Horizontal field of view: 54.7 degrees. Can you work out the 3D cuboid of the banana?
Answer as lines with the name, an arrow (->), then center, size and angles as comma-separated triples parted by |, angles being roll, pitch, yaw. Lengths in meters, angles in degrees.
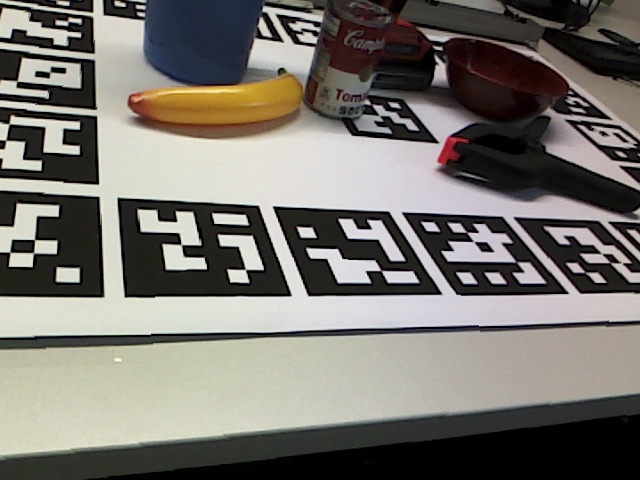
banana -> -0.081, -0.133, 0.571 | 0.196, 0.039, 0.075 | -20, 43, -41

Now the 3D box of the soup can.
soup can -> 0.027, -0.191, 0.633 | 0.068, 0.102, 0.068 | 10, 30, -6

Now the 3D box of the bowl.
bowl -> 0.219, -0.199, 0.758 | 0.161, 0.055, 0.162 | 11, 39, -9

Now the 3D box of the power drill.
power drill -> 0.123, -0.301, 0.708 | 0.183, 0.187, 0.058 | -3, 42, -26

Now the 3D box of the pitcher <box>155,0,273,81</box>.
pitcher -> -0.085, -0.285, 0.589 | 0.188, 0.242, 0.134 | -20, 48, -39

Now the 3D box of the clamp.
clamp -> 0.209, -0.094, 0.626 | 0.202, 0.036, 0.166 | -2, 45, -24
